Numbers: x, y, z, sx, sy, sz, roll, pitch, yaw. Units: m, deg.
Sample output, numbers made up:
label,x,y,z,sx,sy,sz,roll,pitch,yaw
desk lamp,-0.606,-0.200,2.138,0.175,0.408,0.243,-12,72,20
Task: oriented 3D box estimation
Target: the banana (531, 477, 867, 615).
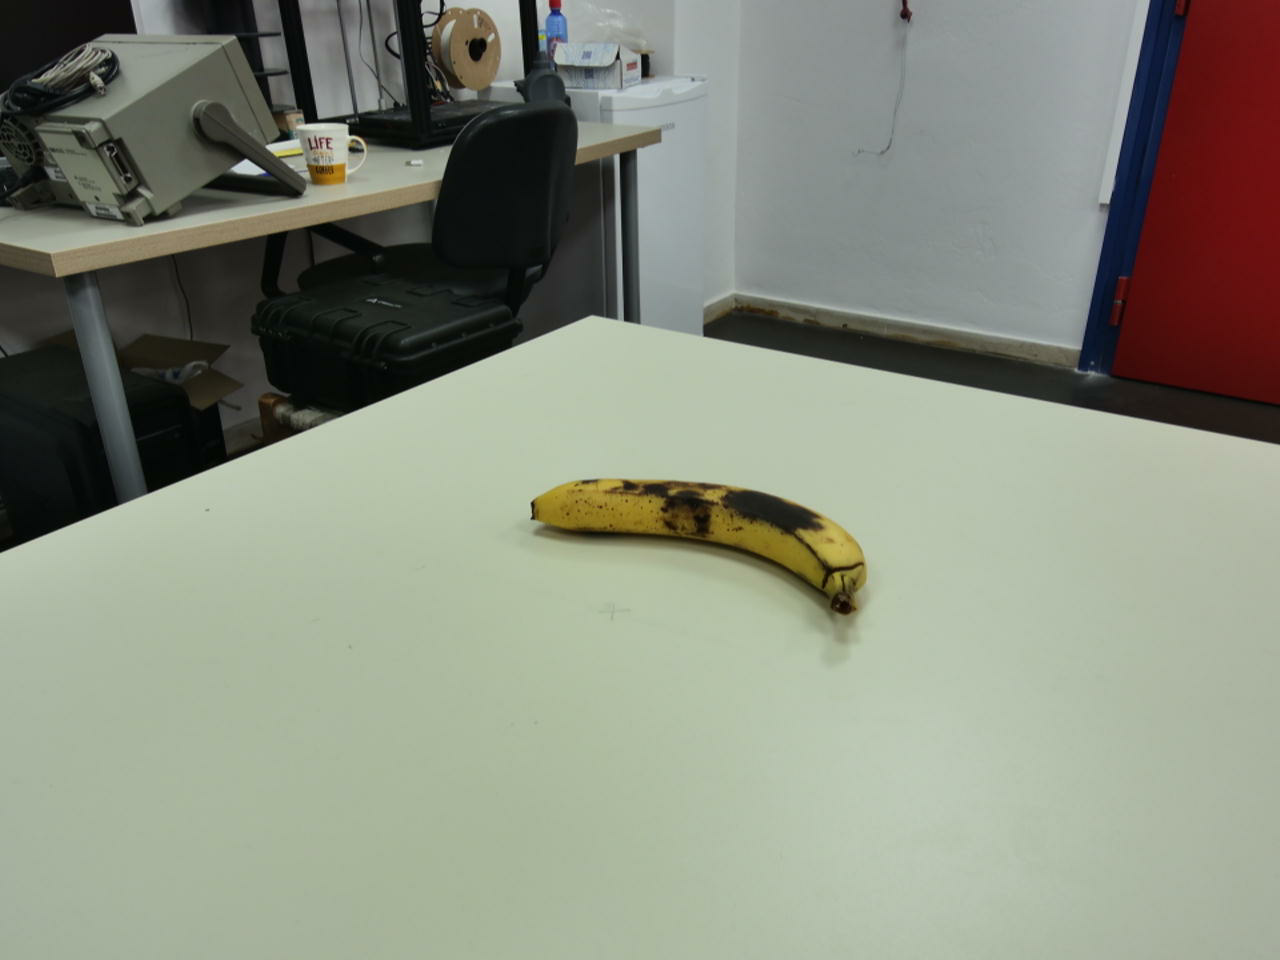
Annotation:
label,x,y,z,sx,sy,sz,roll,pitch,yaw
banana,0.042,0.028,0.598,0.222,0.037,0.084,17,30,33
